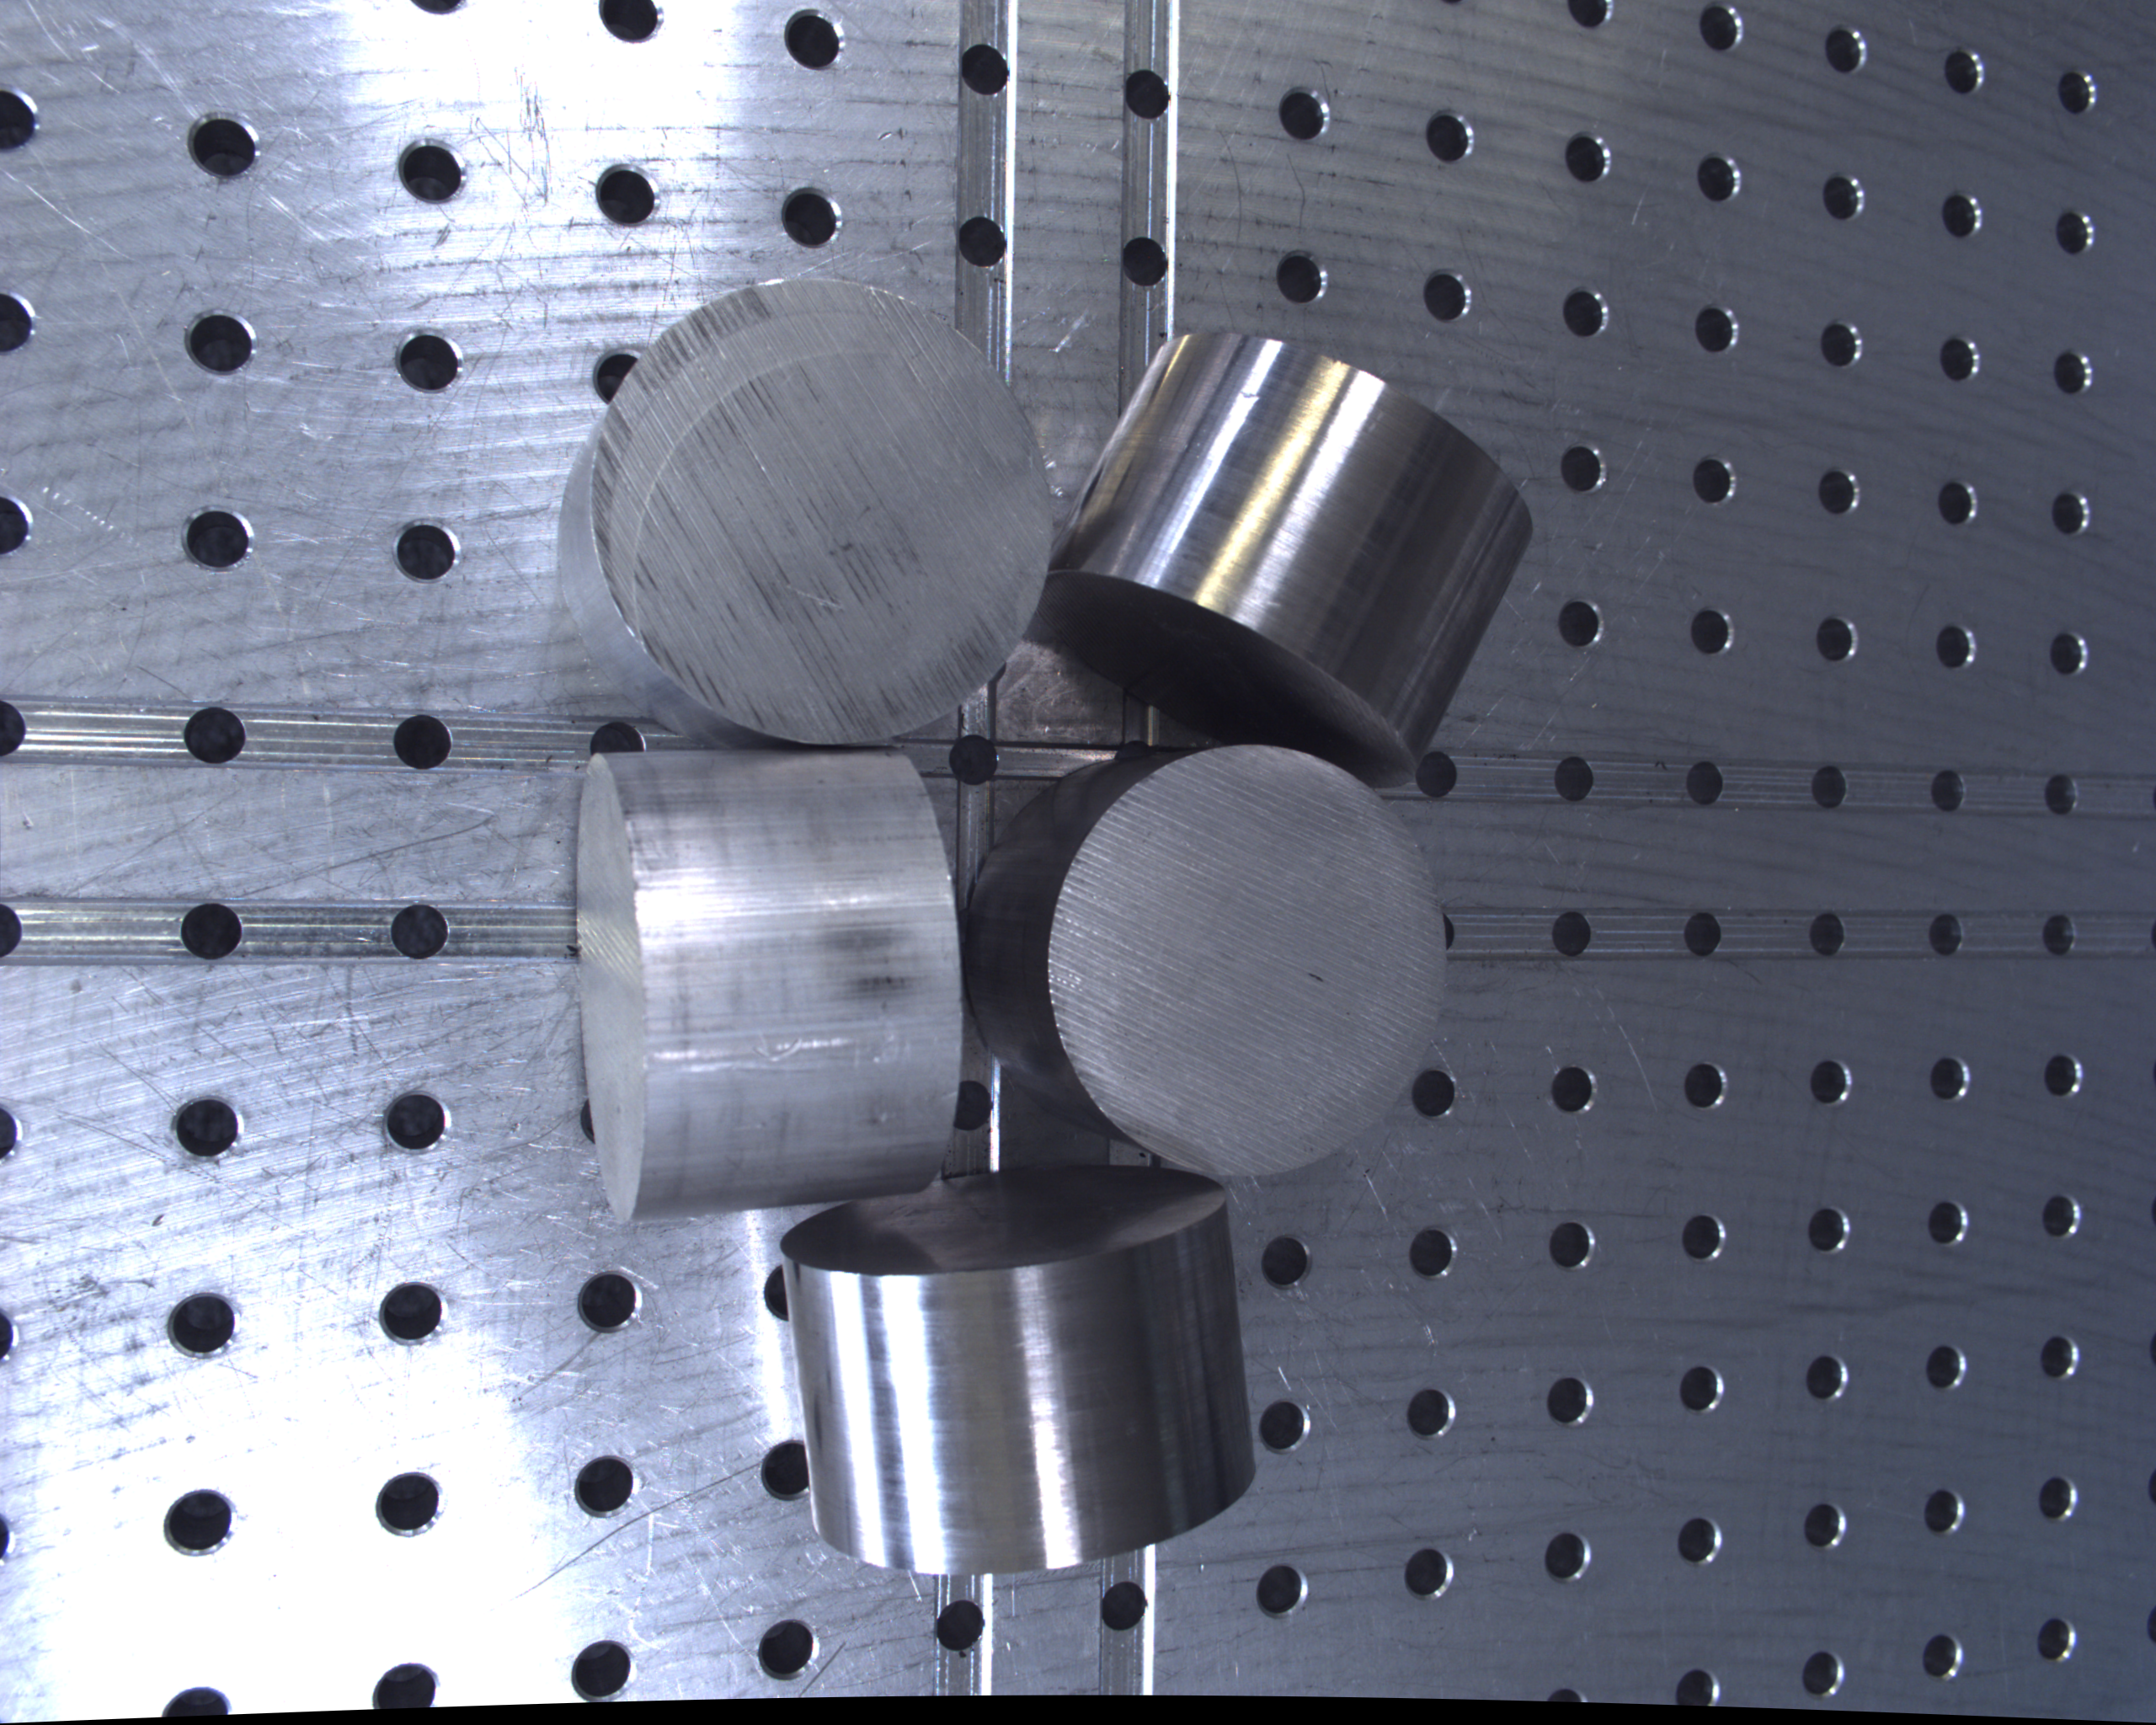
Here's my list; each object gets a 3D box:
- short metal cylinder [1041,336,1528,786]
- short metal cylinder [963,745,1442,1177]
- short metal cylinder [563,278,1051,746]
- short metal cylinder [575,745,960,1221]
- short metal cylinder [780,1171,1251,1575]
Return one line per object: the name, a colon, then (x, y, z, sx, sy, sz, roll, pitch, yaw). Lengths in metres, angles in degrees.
short metal cylinder: (0.038, -0.056, 0.397, 0.080, 0.080, 0.050, 30, 80, -18)
short metal cylinder: (0.023, 0.018, 0.408, 0.081, 0.050, 0.079, 0, 91, -21)
short metal cylinder: (-0.051, -0.060, 0.380, 0.081, 0.050, 0.079, 0, 90, -19)
short metal cylinder: (-0.057, 0.020, 0.363, 0.050, 0.080, 0.079, -3, 91, -21)
short metal cylinder: (-0.011, 0.089, 0.379, 0.081, 0.080, 0.050, -7, 93, -20)
